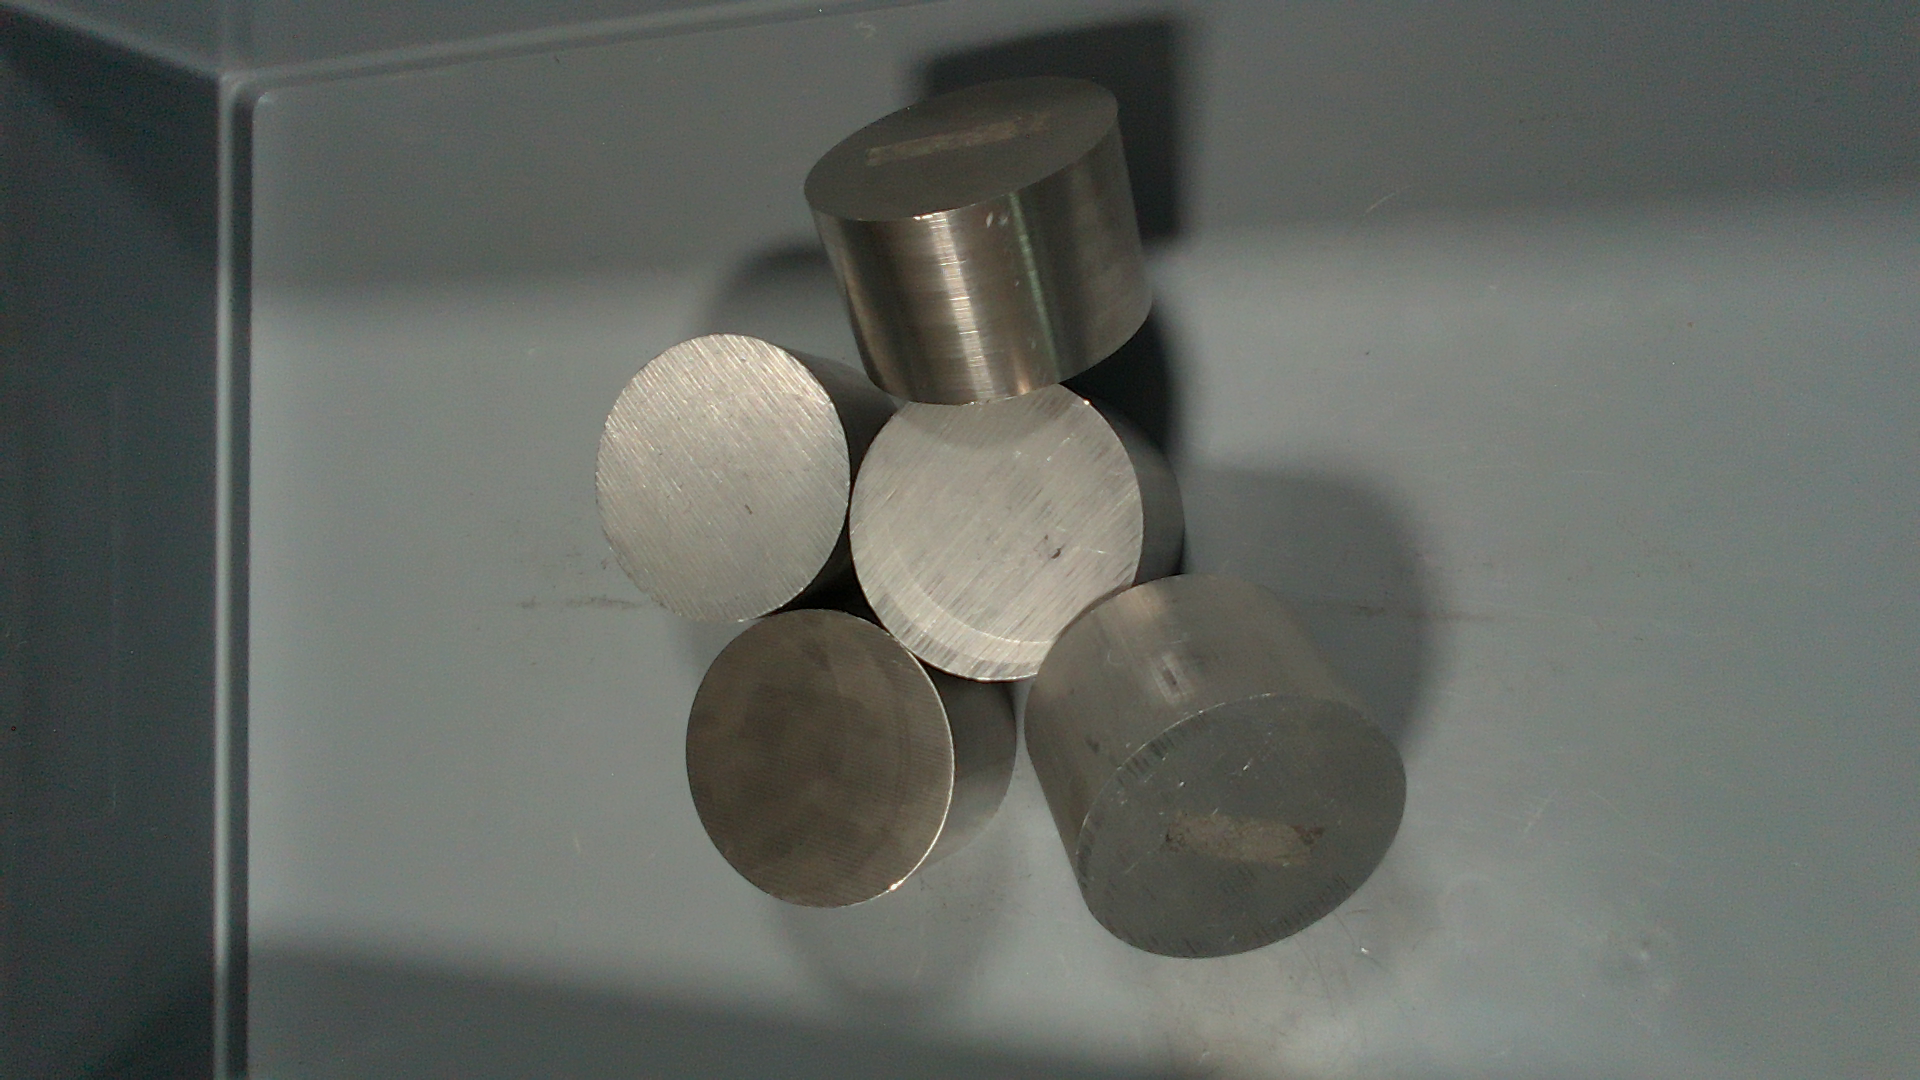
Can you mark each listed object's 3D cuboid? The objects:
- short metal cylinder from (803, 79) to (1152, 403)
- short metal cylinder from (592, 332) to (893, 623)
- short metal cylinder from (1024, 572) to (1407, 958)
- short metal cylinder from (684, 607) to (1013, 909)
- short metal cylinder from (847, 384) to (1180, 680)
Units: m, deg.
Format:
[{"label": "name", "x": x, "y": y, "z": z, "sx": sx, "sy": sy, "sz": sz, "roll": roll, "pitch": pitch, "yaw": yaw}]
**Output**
[{"label": "short metal cylinder", "x": 0.006, "y": -0.079, "z": 0.356, "sx": 0.080, "sy": 0.080, "sz": 0.050, "roll": -3, "pitch": 127, "yaw": 20}, {"label": "short metal cylinder", "x": -0.059, "y": -0.017, "z": 0.402, "sx": 0.080, "sy": 0.050, "sz": 0.080, "roll": 0, "pitch": 90, "yaw": 20}, {"label": "short metal cylinder", "x": 0.061, "y": 0.055, "z": 0.338, "sx": 0.080, "sy": 0.050, "sz": 0.080, "roll": -6, "pitch": 122, "yaw": -10}, {"label": "short metal cylinder", "x": -0.030, "y": 0.059, "z": 0.392, "sx": 0.080, "sy": 0.050, "sz": 0.080, "roll": 0, "pitch": 90, "yaw": 20}, {"label": "short metal cylinder", "x": 0.016, "y": -0.004, "z": 0.375, "sx": 0.080, "sy": 0.050, "sz": 0.080, "roll": 0, "pitch": 90, "yaw": 20}]
